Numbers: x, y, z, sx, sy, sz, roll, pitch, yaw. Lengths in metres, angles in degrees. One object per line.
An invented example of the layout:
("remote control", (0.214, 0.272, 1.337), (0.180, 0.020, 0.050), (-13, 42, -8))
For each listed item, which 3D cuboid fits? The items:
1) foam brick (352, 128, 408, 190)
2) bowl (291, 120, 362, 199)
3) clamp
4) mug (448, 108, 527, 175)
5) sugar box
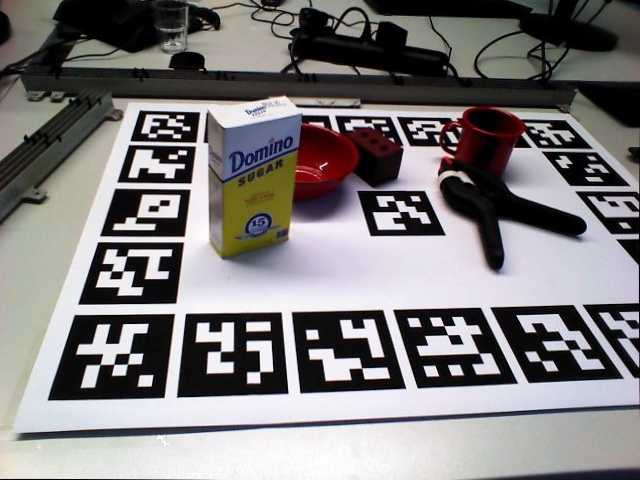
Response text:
("foam brick", (0.087, -0.120, 0.766), (0.052, 0.051, 0.078), (-22, 50, -26))
("bowl", (-0.025, -0.106, 0.726), (0.162, 0.055, 0.161), (4, 42, -4))
("clamp", (0.234, -0.056, 0.706), (0.165, 0.037, 0.203), (-19, 49, -23))
("mug", (0.254, -0.155, 0.791), (0.117, 0.082, 0.092), (19, 43, 9))
("sugar box", (-0.079, -0.061, 0.579), (0.092, 0.177, 0.045), (-18, 50, -27))
